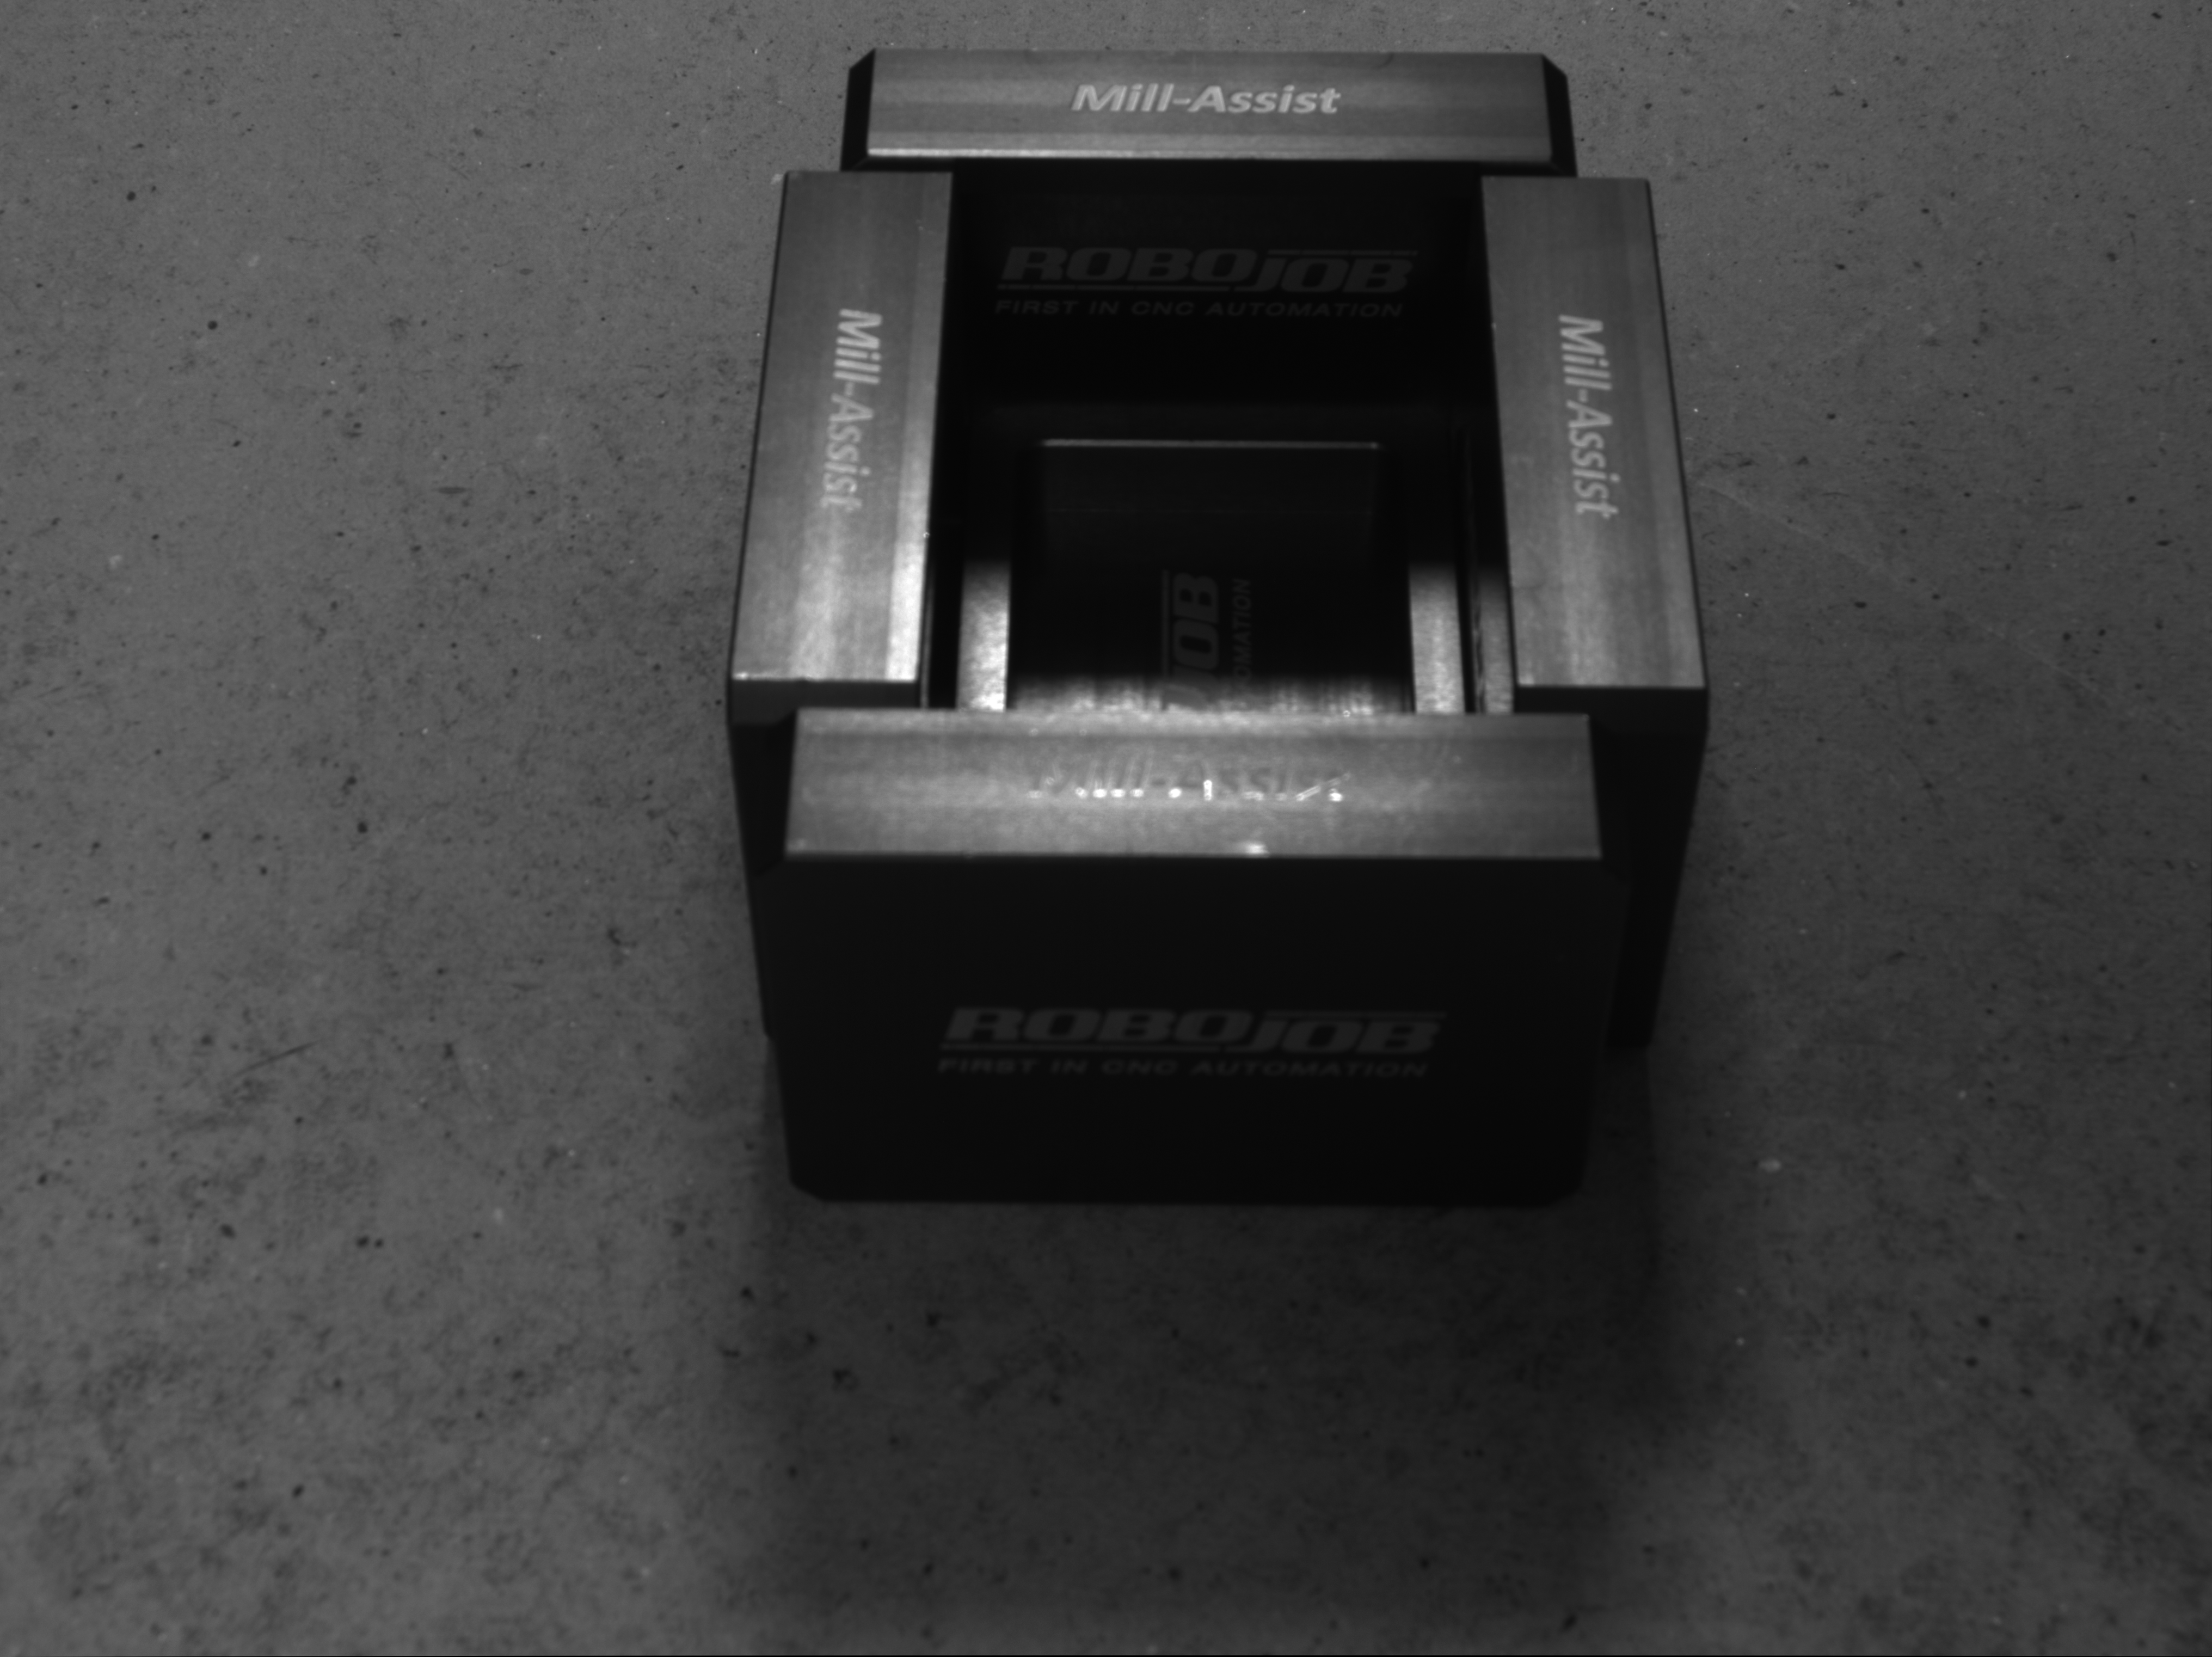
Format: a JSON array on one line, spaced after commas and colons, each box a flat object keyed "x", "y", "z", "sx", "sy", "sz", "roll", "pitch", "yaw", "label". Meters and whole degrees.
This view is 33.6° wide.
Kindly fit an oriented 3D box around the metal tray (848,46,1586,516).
[{"x": 0.020, "y": -0.100, "z": 0.684, "sx": 0.130, "sy": 0.090, "sz": 0.030, "roll": 1, "pitch": 50, "yaw": 1, "label": "metal tray"}]

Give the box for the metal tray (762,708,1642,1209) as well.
[{"x": 0.014, "y": 0.022, "z": 0.580, "sx": 0.130, "sy": 0.090, "sz": 0.030, "roll": 1, "pitch": 50, "yaw": 1, "label": "metal tray"}]

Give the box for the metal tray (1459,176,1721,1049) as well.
[{"x": 0.080, "y": -0.038, "z": 0.631, "sx": 0.030, "sy": 0.090, "sz": 0.130, "roll": 1, "pitch": 50, "yaw": 1, "label": "metal tray"}]

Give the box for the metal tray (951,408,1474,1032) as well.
[{"x": 0.019, "y": -0.020, "z": 0.656, "sx": 0.090, "sy": 0.030, "sz": 0.130, "roll": 1, "pitch": 50, "yaw": 1, "label": "metal tray"}]

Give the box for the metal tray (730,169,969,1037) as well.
[{"x": -0.041, "y": -0.040, "z": 0.632, "sx": 0.030, "sy": 0.090, "sz": 0.130, "roll": 1, "pitch": 50, "yaw": 1, "label": "metal tray"}]
